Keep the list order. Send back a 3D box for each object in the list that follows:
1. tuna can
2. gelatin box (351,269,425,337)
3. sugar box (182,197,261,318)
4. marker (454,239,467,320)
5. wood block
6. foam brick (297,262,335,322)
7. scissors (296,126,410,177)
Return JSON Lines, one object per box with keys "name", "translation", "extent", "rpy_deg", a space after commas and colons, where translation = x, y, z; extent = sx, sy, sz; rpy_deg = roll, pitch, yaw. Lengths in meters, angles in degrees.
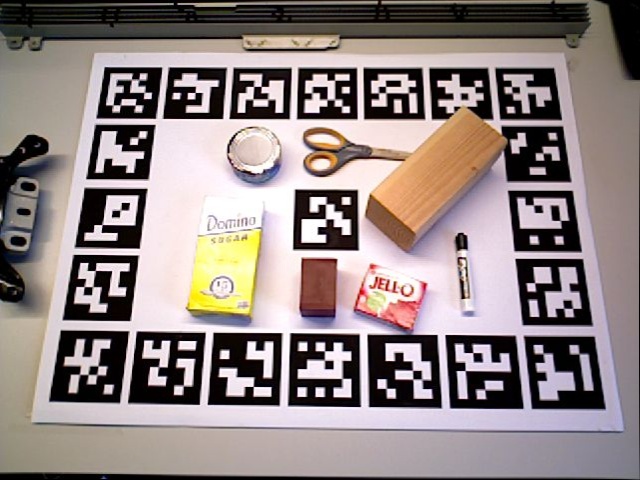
{"name": "tuna can", "translation": [-0.113, -0.133, 0.861], "extent": [0.085, 0.034, 0.085], "rpy_deg": [-1, 74, 1]}
{"name": "gelatin box", "translation": [0.099, 0.092, 0.793], "extent": [0.089, 0.030, 0.073], "rpy_deg": [19, 76, 7]}
{"name": "sugar box", "translation": [-0.144, 0.027, 0.813], "extent": [0.092, 0.046, 0.175], "rpy_deg": [6, 74, 2]}
{"name": "marker", "translation": [0.208, 0.057, 0.804], "extent": [0.019, 0.020, 0.120], "rpy_deg": [3, 76, 2]}
{"name": "wood block", "translation": [0.174, -0.082, 0.814], "extent": [0.204, 0.092, 0.090], "rpy_deg": [-43, 76, -11]}
{"name": "foam brick", "translation": [-0.005, 0.076, 0.786], "extent": [0.052, 0.052, 0.077], "rpy_deg": [3, 74, 2]}
{"name": "scissors", "translation": [0.059, -0.134, 0.869], "extent": [0.202, 0.016, 0.087], "rpy_deg": [8, 74, 6]}
